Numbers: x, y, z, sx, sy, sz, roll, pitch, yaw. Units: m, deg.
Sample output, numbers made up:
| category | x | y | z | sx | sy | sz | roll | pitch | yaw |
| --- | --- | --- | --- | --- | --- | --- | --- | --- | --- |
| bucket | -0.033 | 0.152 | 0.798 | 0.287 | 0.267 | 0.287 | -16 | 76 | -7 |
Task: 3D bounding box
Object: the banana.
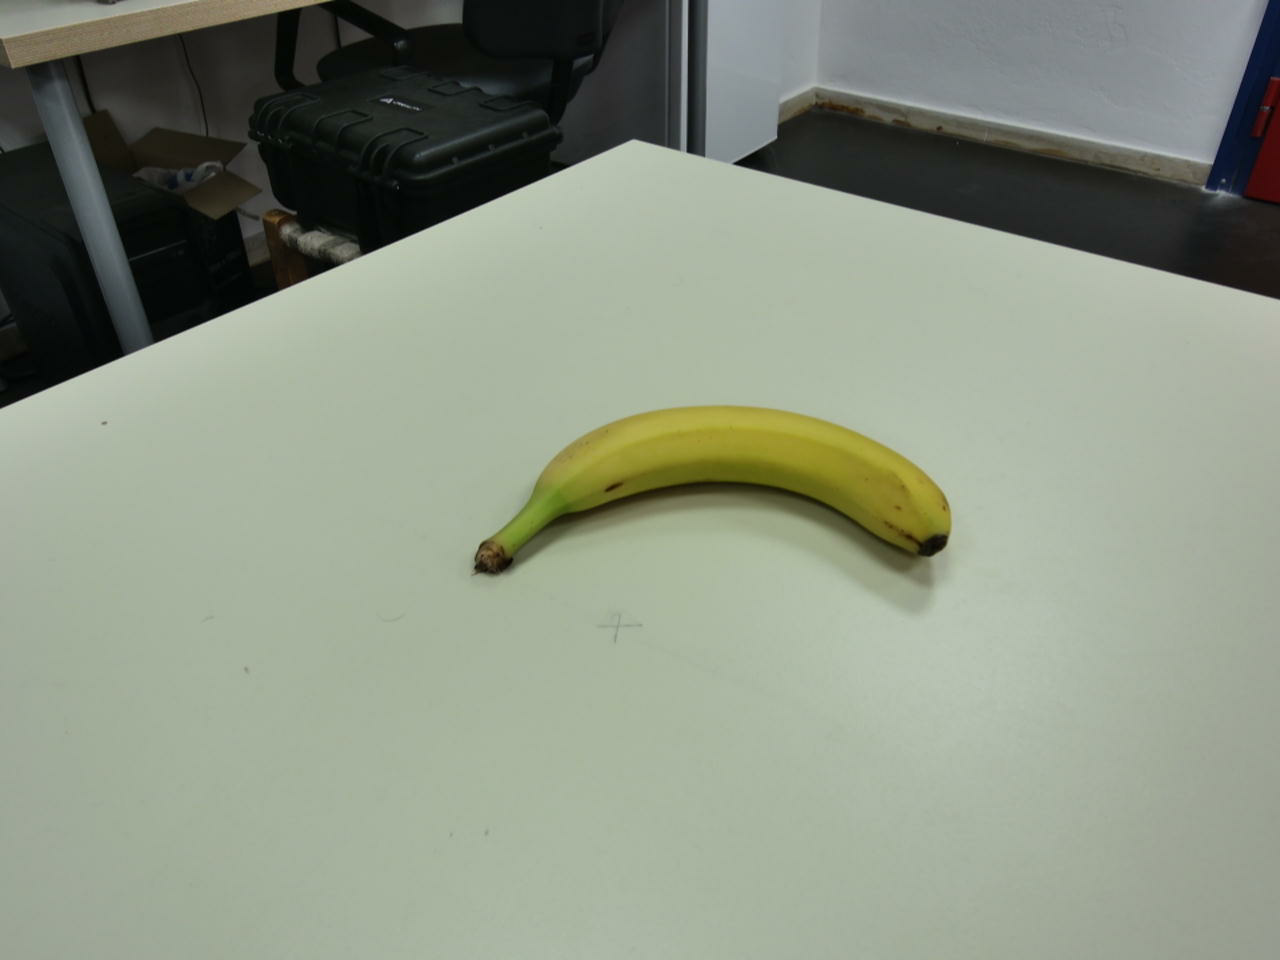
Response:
| category | x | y | z | sx | sy | sz | roll | pitch | yaw |
| --- | --- | --- | --- | --- | --- | --- | --- | --- | --- |
| banana | 0.030 | 0.000 | 0.440 | 0.196 | 0.041 | 0.094 | 2 | 36 | 4 |
